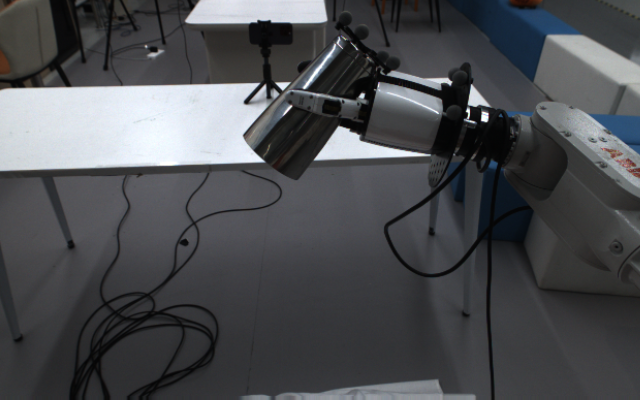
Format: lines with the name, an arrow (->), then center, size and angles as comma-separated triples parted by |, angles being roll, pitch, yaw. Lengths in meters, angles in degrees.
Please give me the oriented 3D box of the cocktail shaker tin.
cocktail shaker tin -> -0.007, -0.123, 0.610 | 0.093, 0.170, 0.093 | 41, 12, -11
